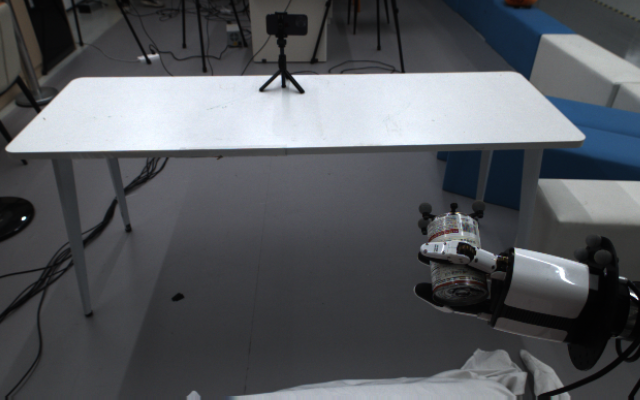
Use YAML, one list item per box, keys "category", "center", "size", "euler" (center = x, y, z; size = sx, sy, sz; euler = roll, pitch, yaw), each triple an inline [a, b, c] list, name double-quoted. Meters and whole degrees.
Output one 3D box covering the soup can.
- category: "soup can"
  center: [0.175, 0.075, 0.618]
  size: [0.067, 0.067, 0.101]
  euler: [3, 57, 1]
